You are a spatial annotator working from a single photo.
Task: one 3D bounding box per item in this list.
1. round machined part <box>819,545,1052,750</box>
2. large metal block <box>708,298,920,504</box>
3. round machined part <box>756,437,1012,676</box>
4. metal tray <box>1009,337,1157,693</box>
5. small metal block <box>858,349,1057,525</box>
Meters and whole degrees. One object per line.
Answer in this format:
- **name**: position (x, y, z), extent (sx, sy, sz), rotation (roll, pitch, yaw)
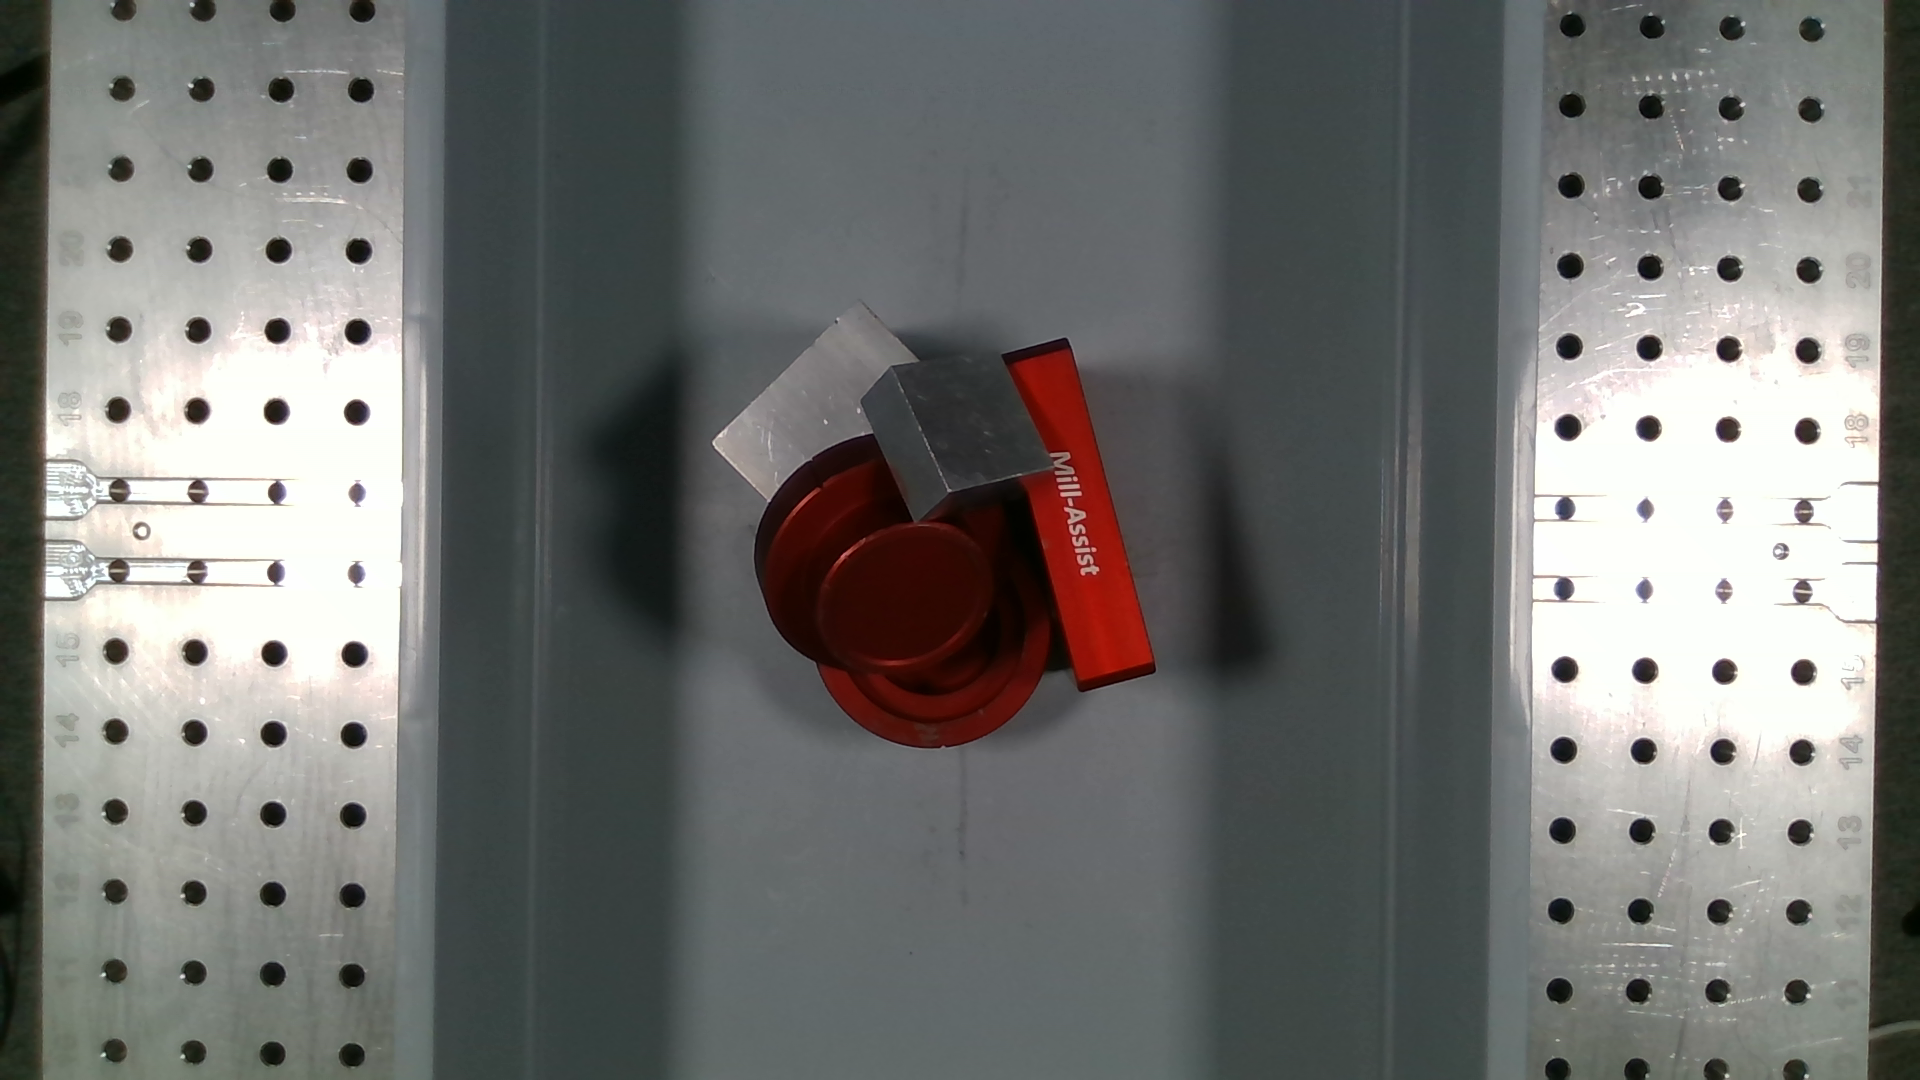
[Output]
- **round machined part**: position (-0.012, 0.036, 0.579), extent (0.098, 0.042, 0.098), rotation (0, 90, 0)
- **large metal block**: position (-0.049, -0.045, 0.558), extent (0.080, 0.080, 0.050), rotation (-44, 90, 0)
- **round machined part**: position (-0.026, 0.012, 0.520), extent (0.098, 0.042, 0.098), rotation (-11, 127, -15)
- **metal tray**: position (0.043, -0.009, 0.553), extent (0.030, 0.090, 0.130), rotation (-15, 90, 1)
- **small metal block**: position (-0.001, -0.038, 0.493), extent (0.050, 0.025, 0.050), rotation (-15, 74, -38)
